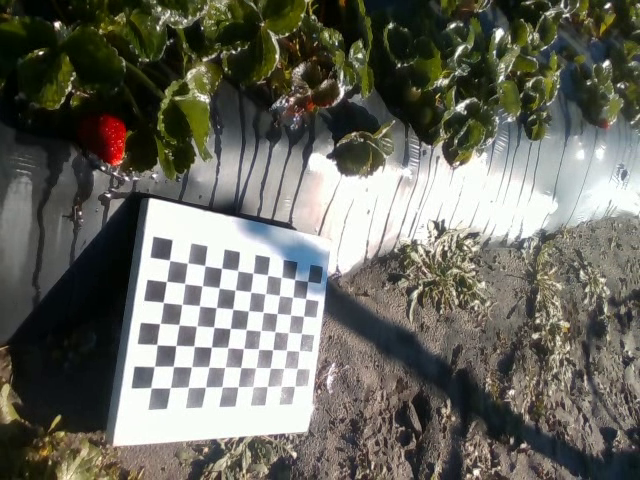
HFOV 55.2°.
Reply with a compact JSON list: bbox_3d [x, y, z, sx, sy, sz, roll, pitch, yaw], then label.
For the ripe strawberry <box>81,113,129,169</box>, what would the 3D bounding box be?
[{"bbox_3d":[-0.174,-0.082,0.497,0.042,0.052,0.047,3,-39,-43],"label":"ripe strawberry"}]
